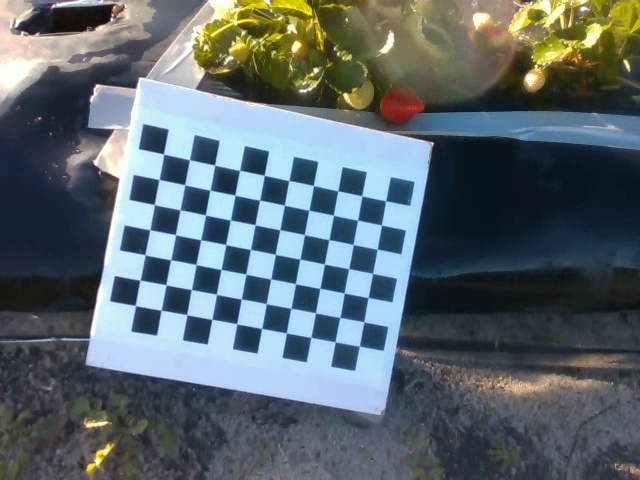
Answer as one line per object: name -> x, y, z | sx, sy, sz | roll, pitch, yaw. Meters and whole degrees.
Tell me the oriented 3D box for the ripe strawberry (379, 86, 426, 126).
ripe strawberry -> 0.089, -0.141, 0.657 | 0.048, 0.045, 0.063 | 36, -2, -32
